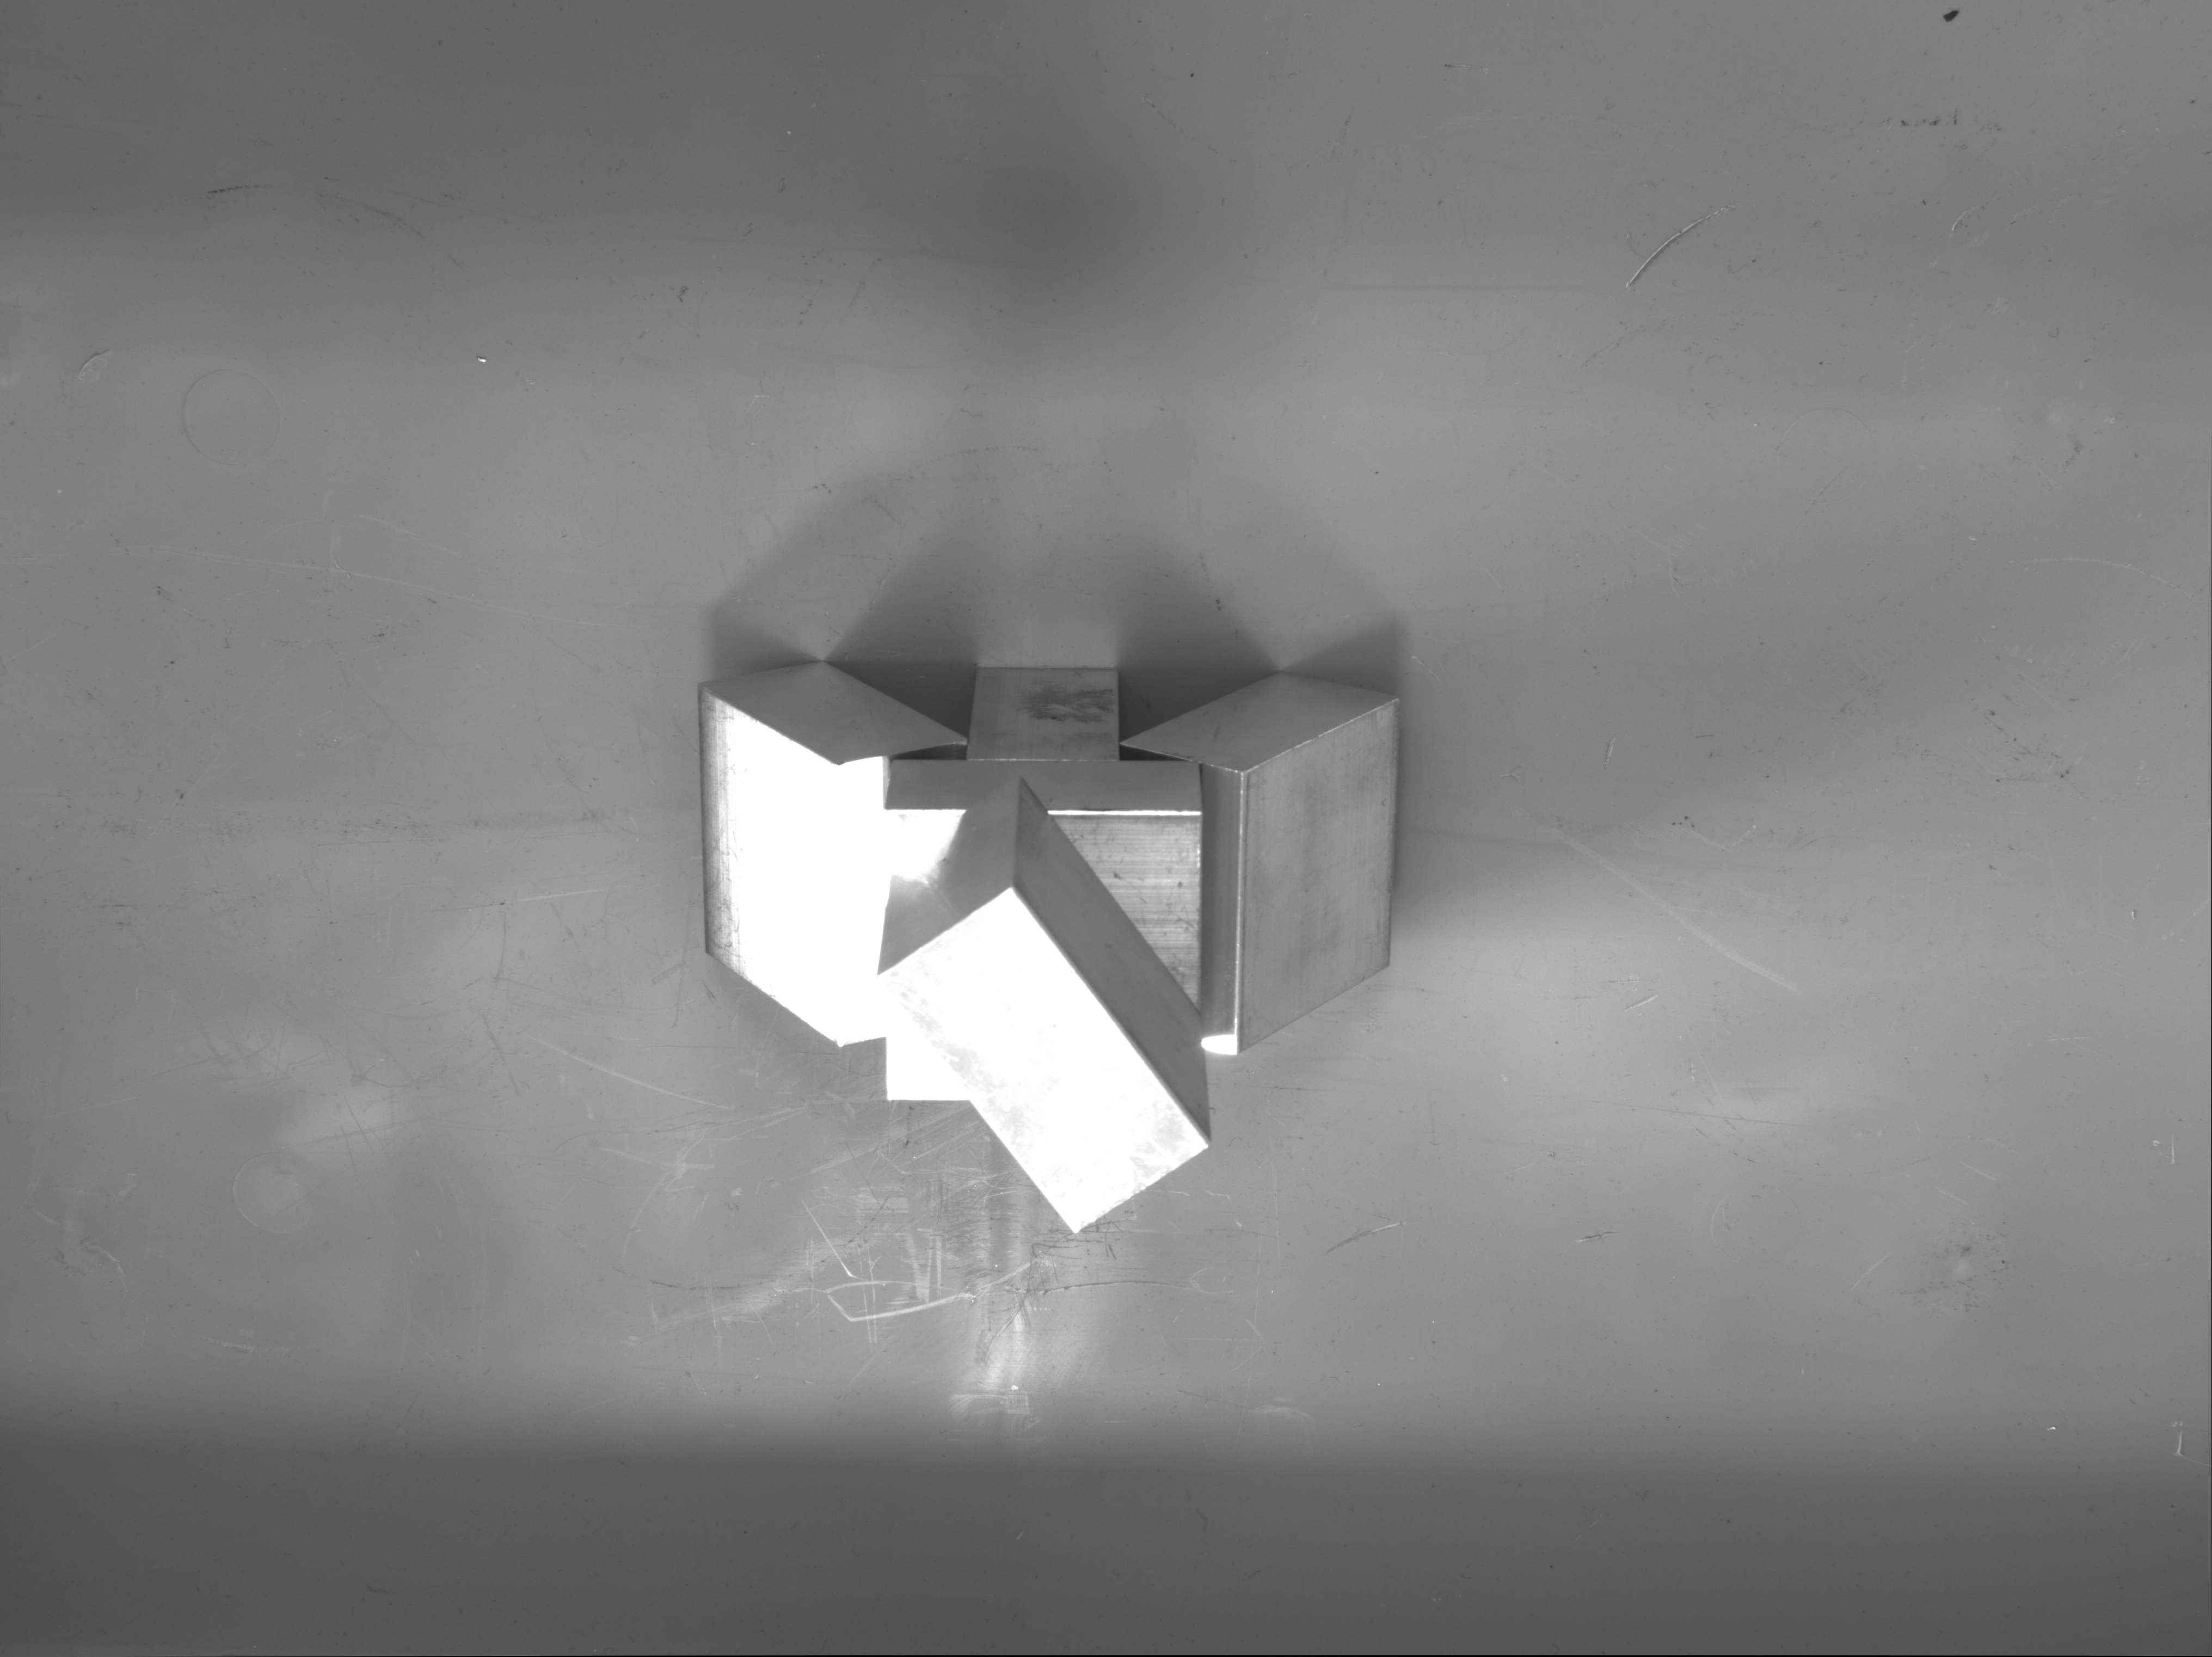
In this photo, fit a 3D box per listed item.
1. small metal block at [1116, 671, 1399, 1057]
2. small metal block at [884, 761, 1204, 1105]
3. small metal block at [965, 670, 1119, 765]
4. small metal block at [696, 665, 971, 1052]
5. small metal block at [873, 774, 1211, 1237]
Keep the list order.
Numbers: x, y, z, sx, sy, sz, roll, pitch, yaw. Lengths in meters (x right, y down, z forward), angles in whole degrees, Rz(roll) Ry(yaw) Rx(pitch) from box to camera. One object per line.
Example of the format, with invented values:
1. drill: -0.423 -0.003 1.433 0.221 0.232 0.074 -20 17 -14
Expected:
1. small metal block: 0.026 0.005 0.628 0.025 0.050 0.050 14 114 32
2. small metal block: -0.010 0.017 0.594 0.050 0.025 0.050 1 110 0
3. small metal block: -0.011 0.004 0.630 0.025 0.050 0.050 1 110 0
4. small metal block: -0.047 0.004 0.627 0.025 0.050 0.050 -12 114 -31
5. small metal block: -0.009 0.026 0.558 0.025 0.050 0.050 -33 106 12
